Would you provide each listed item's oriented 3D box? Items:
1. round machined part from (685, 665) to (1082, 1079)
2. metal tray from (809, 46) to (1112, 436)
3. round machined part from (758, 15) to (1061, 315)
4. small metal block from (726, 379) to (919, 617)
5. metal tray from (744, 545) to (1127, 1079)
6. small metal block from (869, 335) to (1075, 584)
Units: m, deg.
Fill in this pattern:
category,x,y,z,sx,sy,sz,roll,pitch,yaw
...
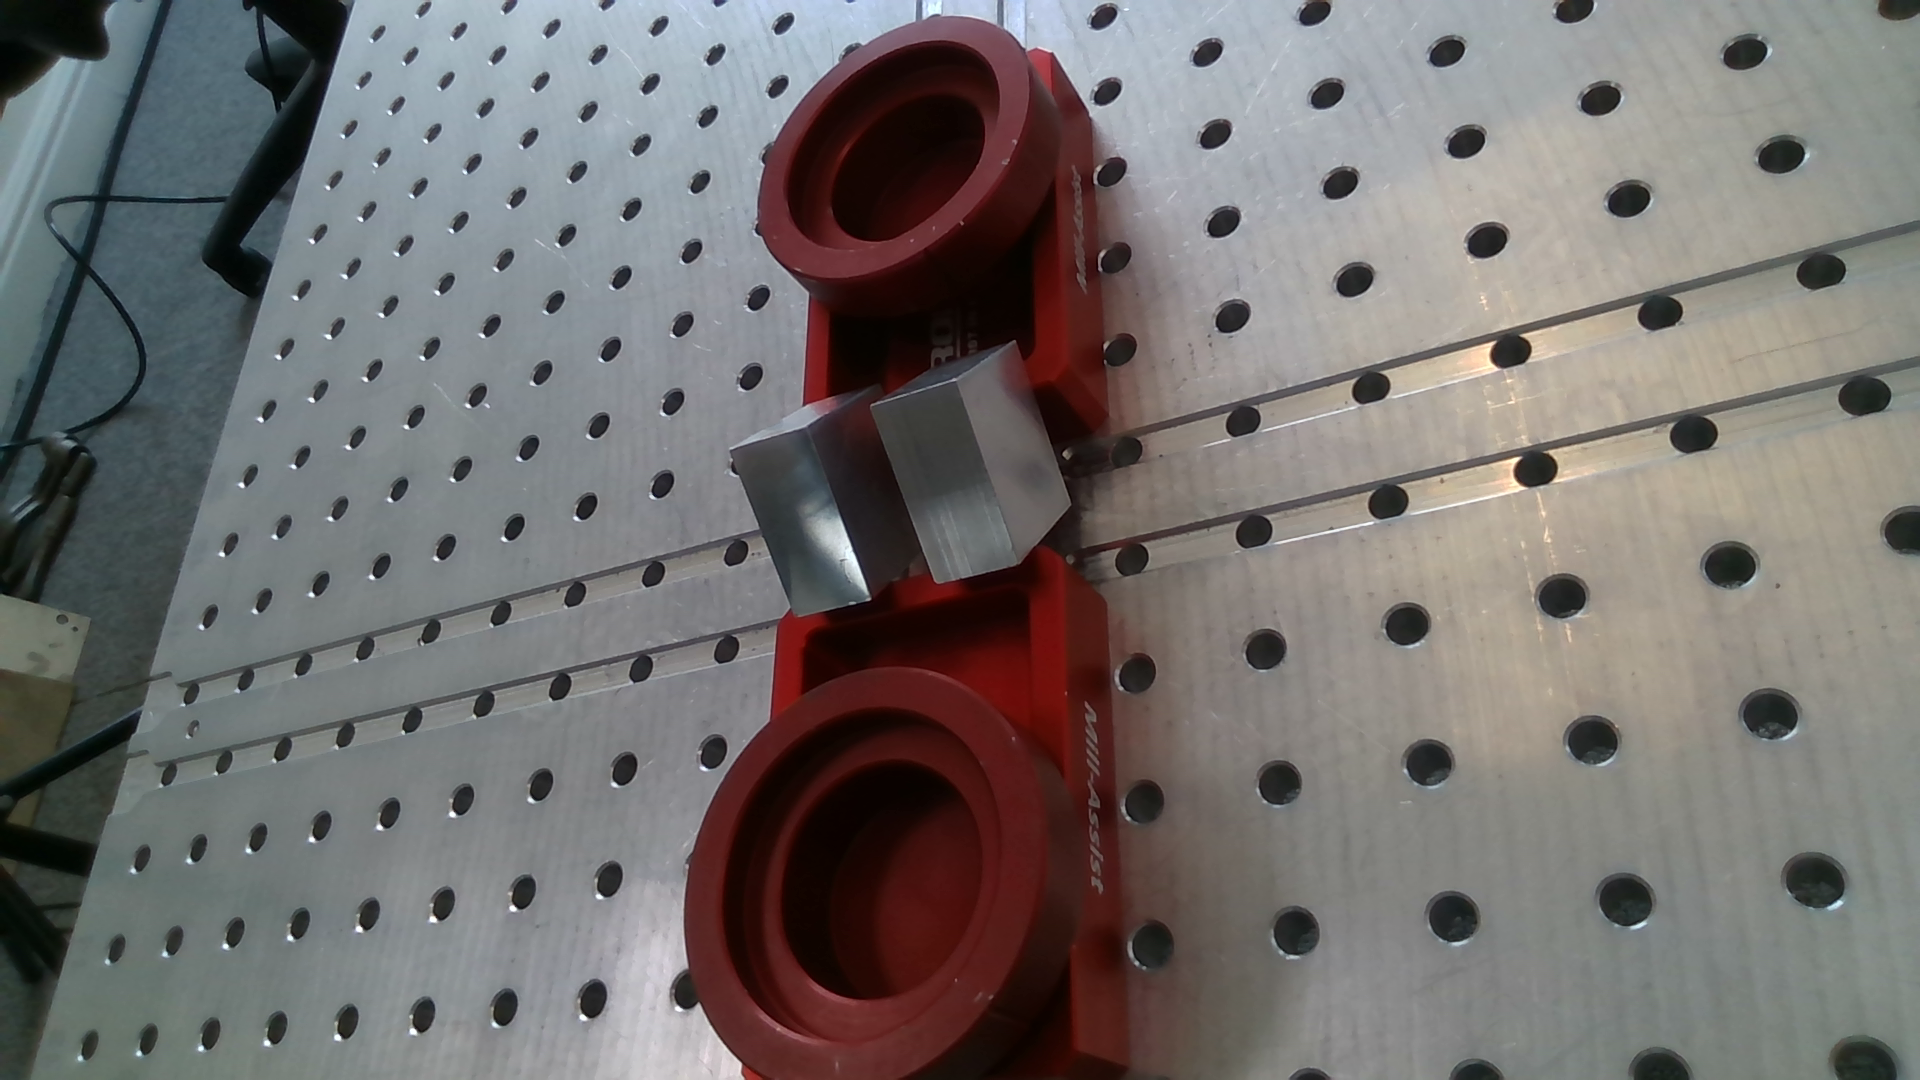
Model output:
category,x,y,z,sx,sy,sz,roll,pitch,yaw
round machined part,-0.015,0.083,0.334,0.098,0.042,0.098,-14,59,25
metal tray,-0.002,-0.086,0.441,0.090,0.030,0.130,-16,58,26
round machined part,-0.012,-0.113,0.436,0.098,0.042,0.098,-14,59,25
small metal block,-0.035,-0.013,0.389,0.025,0.050,0.050,-14,15,25
metal tray,-0.006,0.073,0.359,0.090,0.030,0.130,-14,59,25
small metal block,0.005,-0.023,0.370,0.025,0.050,0.050,-14,15,25
